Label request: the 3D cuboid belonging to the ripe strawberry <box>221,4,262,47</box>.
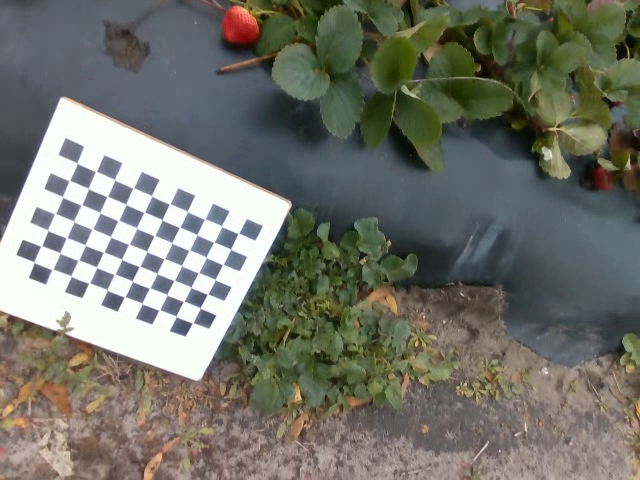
[{"bbox_3d":[-0.126,-0.325,0.807,0.061,0.065,0.050,35,5,-19],"label":"ripe strawberry"}]
